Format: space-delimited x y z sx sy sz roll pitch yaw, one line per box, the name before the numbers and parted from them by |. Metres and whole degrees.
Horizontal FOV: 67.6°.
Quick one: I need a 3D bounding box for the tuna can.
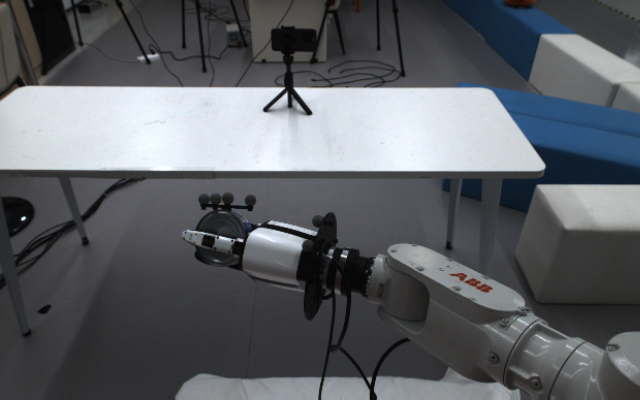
tuna can | -0.145 0.059 0.737 0.085 0.085 0.034 15 0 18
